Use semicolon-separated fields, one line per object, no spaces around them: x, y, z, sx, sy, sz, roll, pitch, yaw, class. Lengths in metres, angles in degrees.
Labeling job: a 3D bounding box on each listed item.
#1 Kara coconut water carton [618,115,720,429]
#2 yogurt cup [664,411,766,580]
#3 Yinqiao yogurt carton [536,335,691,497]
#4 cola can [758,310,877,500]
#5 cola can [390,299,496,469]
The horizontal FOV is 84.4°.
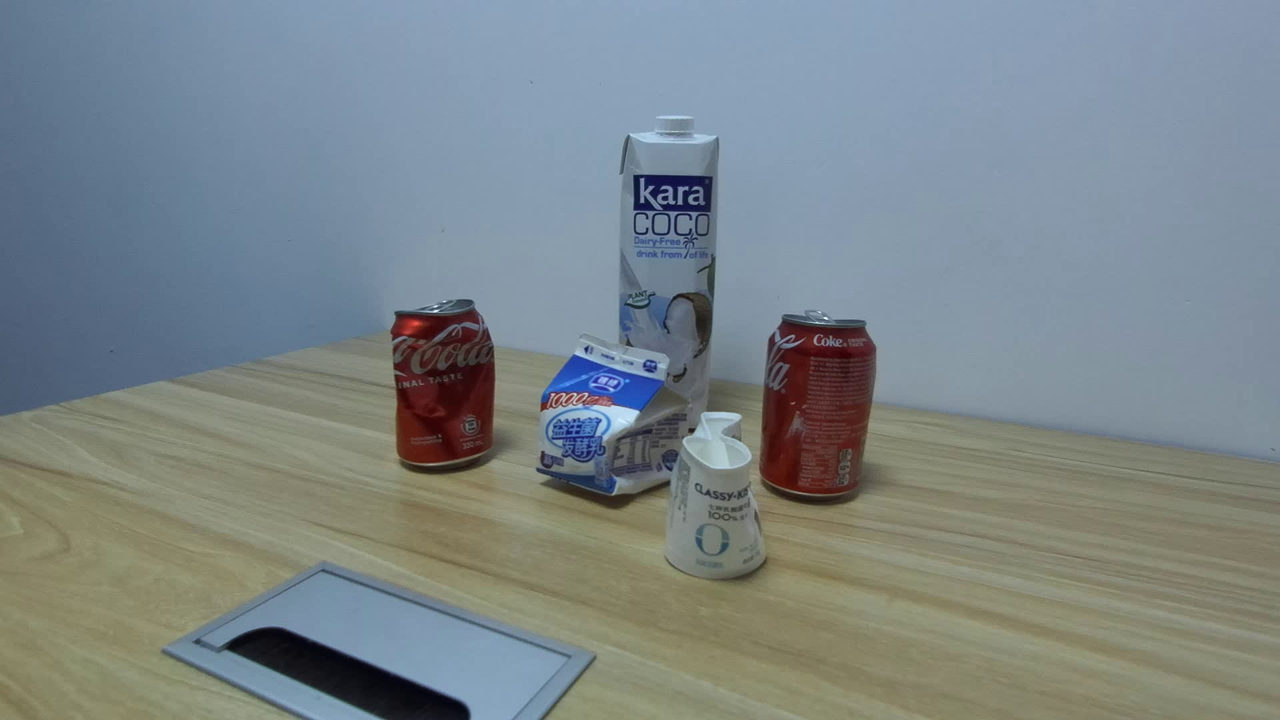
0.022;-0.067;0.570;0.077;0.245;0.075;1;12;0;Kara coconut water carton
0.042;0.071;0.372;0.054;0.071;0.075;-3;15;-20;yogurt cup
-0.017;0.035;0.461;0.074;0.097;0.080;11;9;30;Yinqiao yogurt carton
0.112;0.029;0.461;0.072;0.117;0.065;8;16;21;cola can
-0.137;0.016;0.496;0.069;0.112;0.065;-4;15;-21;cola can
